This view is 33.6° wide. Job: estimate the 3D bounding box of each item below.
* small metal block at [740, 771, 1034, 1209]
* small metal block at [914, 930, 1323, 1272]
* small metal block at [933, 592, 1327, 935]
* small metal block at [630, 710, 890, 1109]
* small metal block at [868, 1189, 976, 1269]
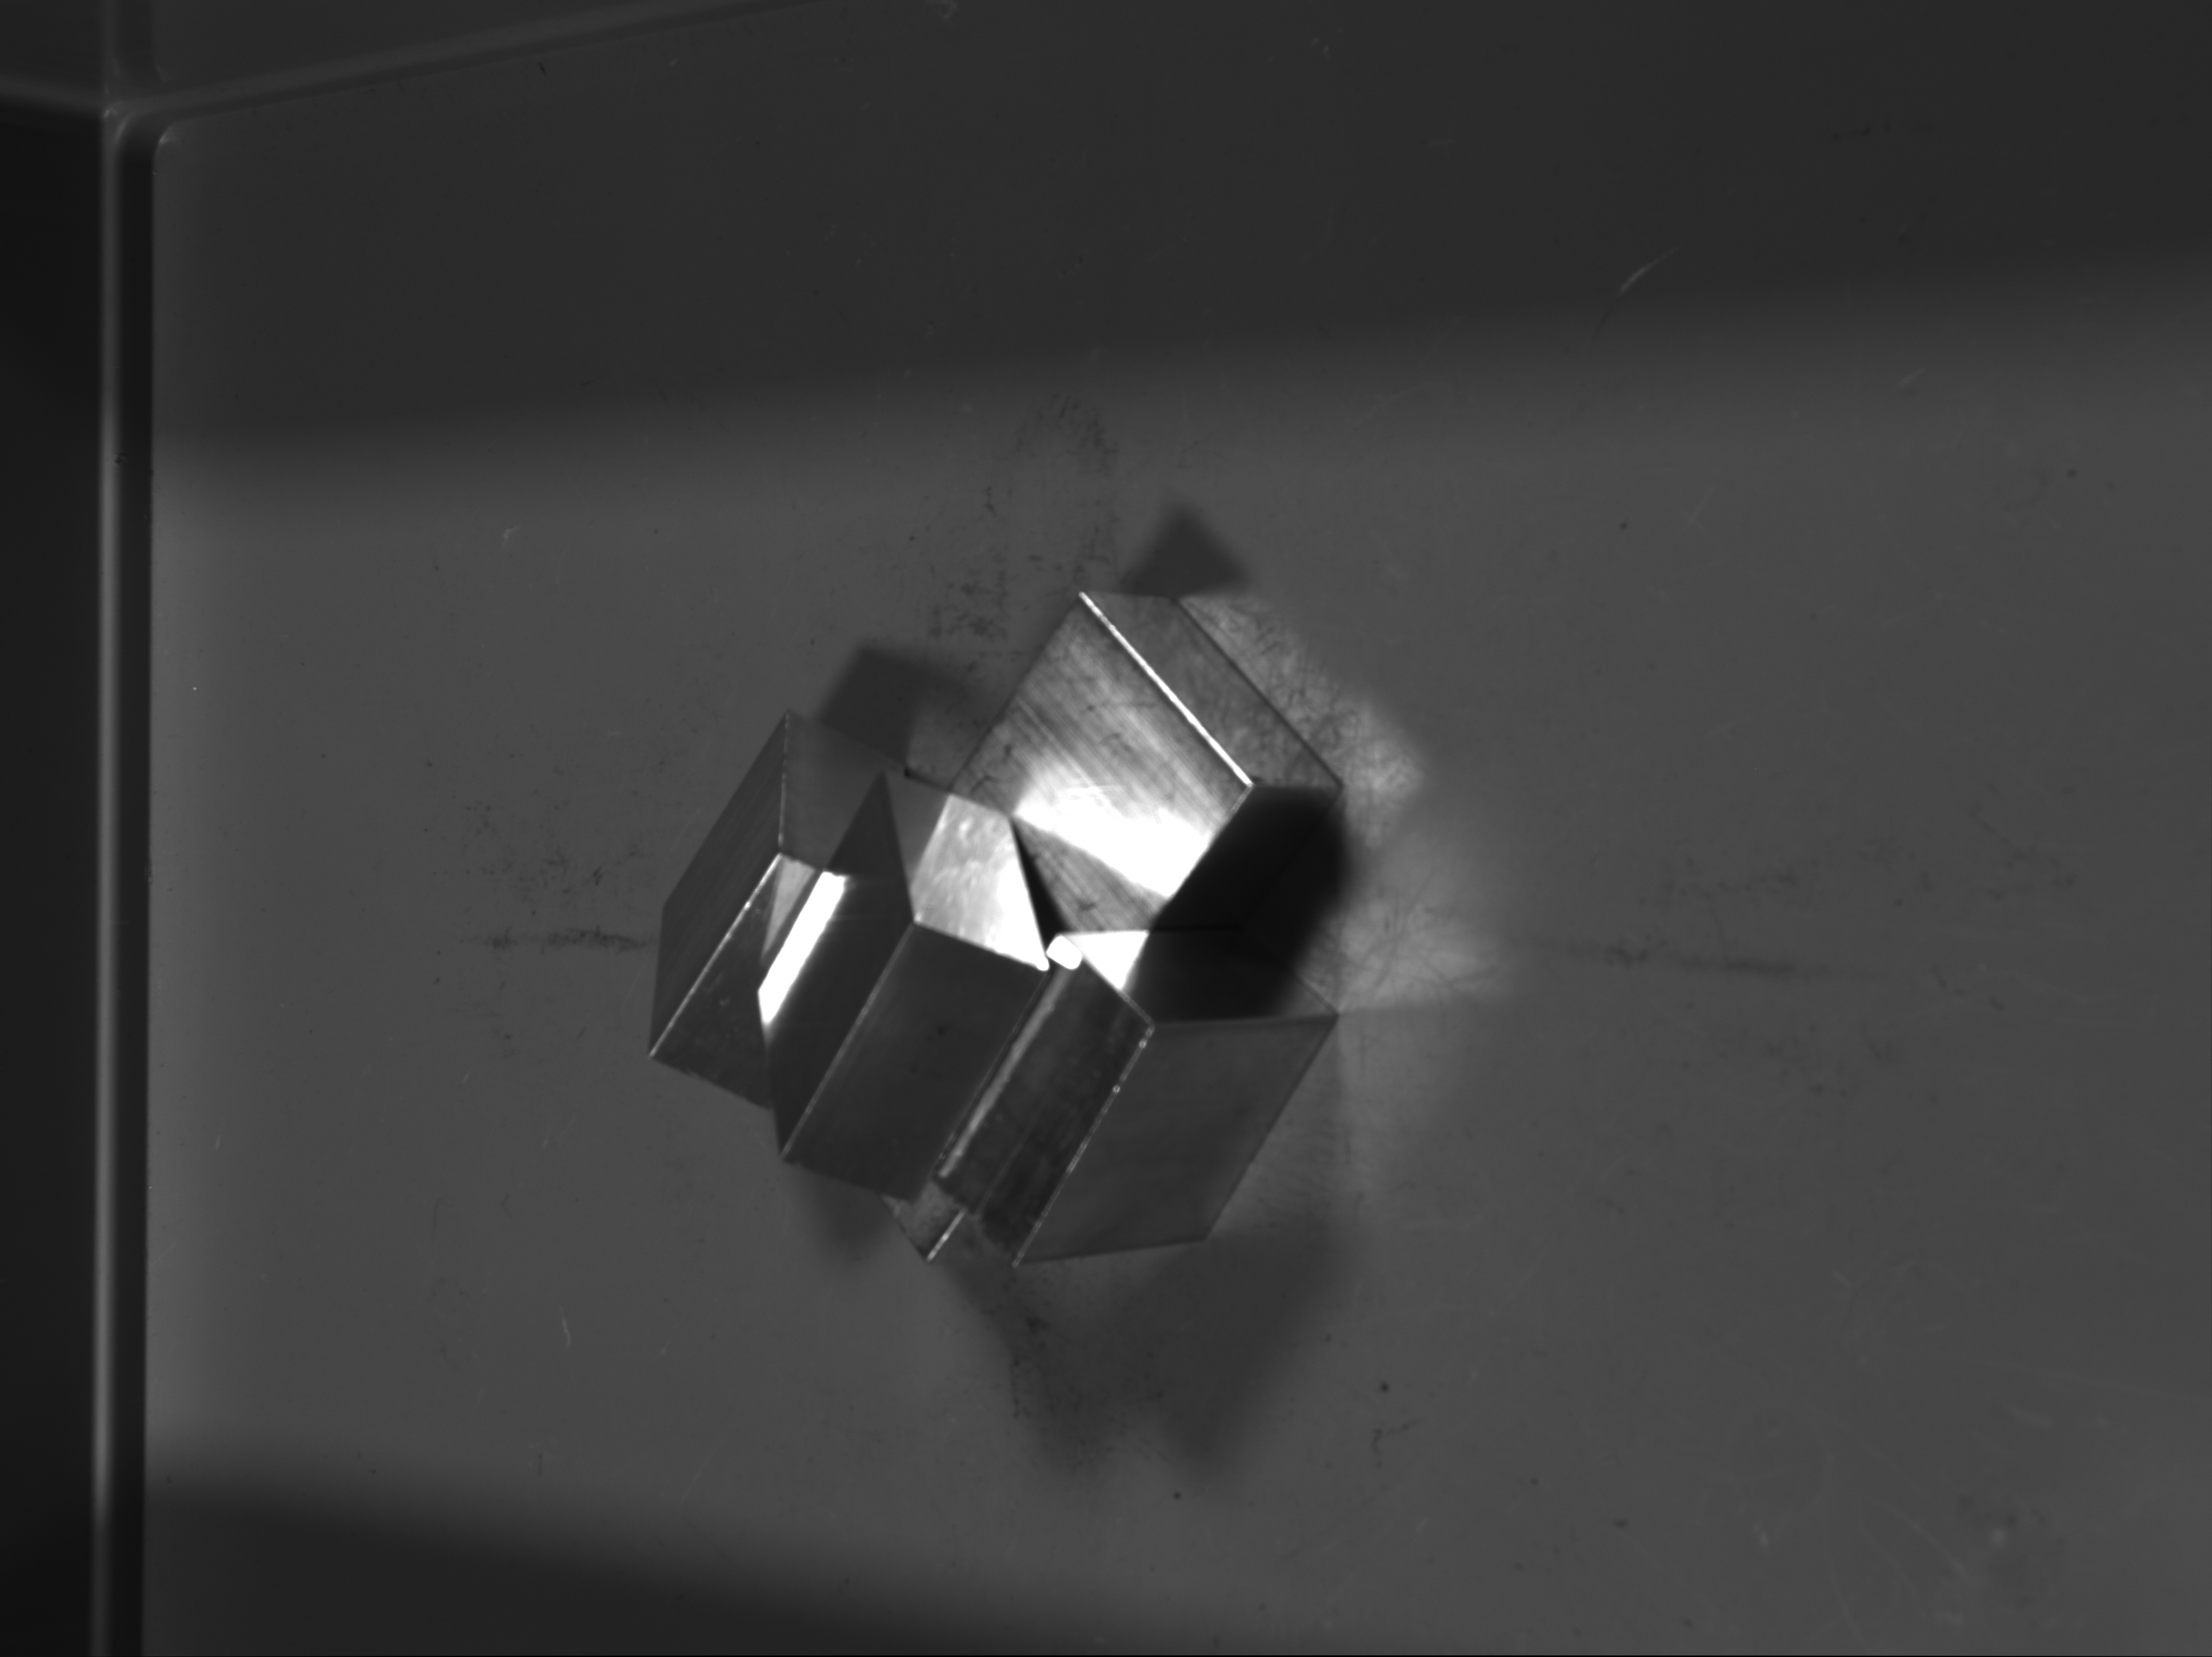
[{"bbox_3d":[-0.038,0.027,0.618,0.050,0.025,0.050,-59,23,23],"label":"small metal block"},{"bbox_3d":[0.002,0.045,0.617,0.025,0.050,0.050,42,115,31],"label":"small metal block"},{"bbox_3d":[0.002,-0.005,0.633,0.050,0.025,0.050,49,119,28],"label":"small metal block"},{"bbox_3d":[-0.063,0.015,0.670,0.050,0.025,0.050,-55,20,25],"label":"small metal block"},{"bbox_3d":[-0.028,0.043,0.657,0.050,0.025,0.050,49,119,28],"label":"small metal block"}]
